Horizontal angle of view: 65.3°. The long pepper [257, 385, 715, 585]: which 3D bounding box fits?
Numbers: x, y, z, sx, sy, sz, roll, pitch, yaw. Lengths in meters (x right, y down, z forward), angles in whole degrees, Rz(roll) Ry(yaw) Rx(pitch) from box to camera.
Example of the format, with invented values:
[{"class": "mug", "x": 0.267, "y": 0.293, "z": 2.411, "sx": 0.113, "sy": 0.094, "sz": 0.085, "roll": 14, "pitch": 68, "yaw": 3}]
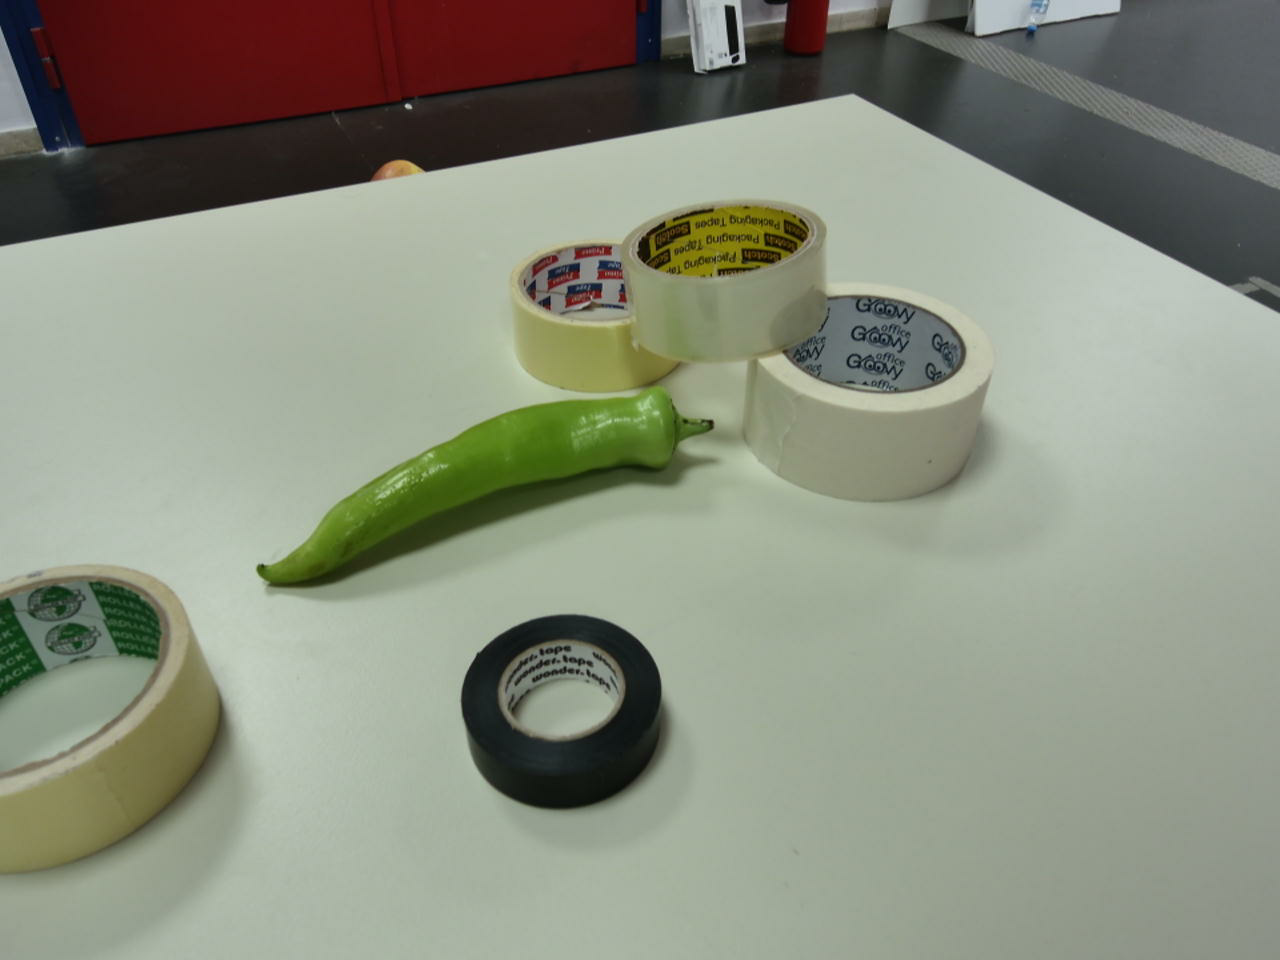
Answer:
[{"class": "long pepper", "x": -0.063, "y": -0.006, "z": 0.418, "sx": 0.197, "sy": 0.038, "sz": 0.047, "roll": -16, "pitch": 41, "yaw": -20}]
